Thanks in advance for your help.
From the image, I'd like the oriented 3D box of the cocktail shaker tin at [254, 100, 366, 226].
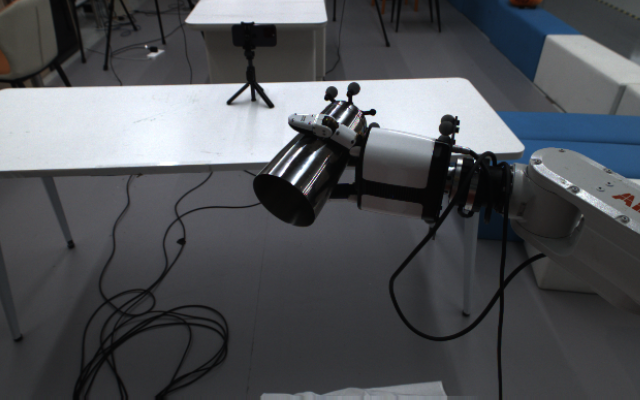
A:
[{"bbox_3d":[-0.001,-0.062,0.643,0.093,0.093,0.170,19,55,23],"label":"cocktail shaker tin"}]
